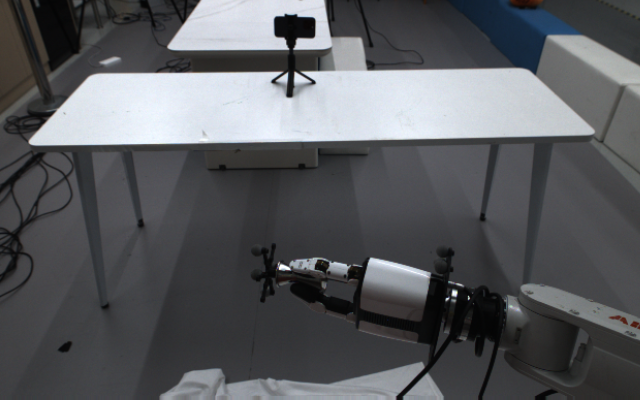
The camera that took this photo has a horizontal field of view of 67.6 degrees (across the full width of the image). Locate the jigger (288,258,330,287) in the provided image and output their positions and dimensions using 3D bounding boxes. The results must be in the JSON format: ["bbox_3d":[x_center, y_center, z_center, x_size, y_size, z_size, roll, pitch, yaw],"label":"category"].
[{"bbox_3d":[-0.018,0.104,0.695,0.071,0.043,0.043,3,34,12],"label":"jigger"}]
